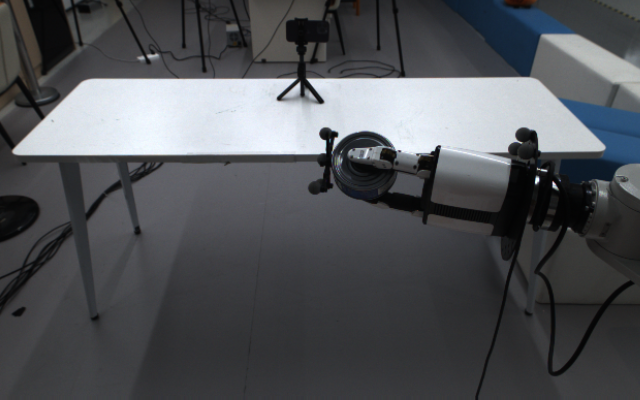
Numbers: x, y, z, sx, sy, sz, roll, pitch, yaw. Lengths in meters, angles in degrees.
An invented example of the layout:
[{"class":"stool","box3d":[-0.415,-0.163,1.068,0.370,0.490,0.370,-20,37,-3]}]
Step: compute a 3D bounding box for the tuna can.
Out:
[{"class":"tuna can","box3d":[0.061,-0.042,0.625,0.085,0.034,0.085,-2,69,6]}]
